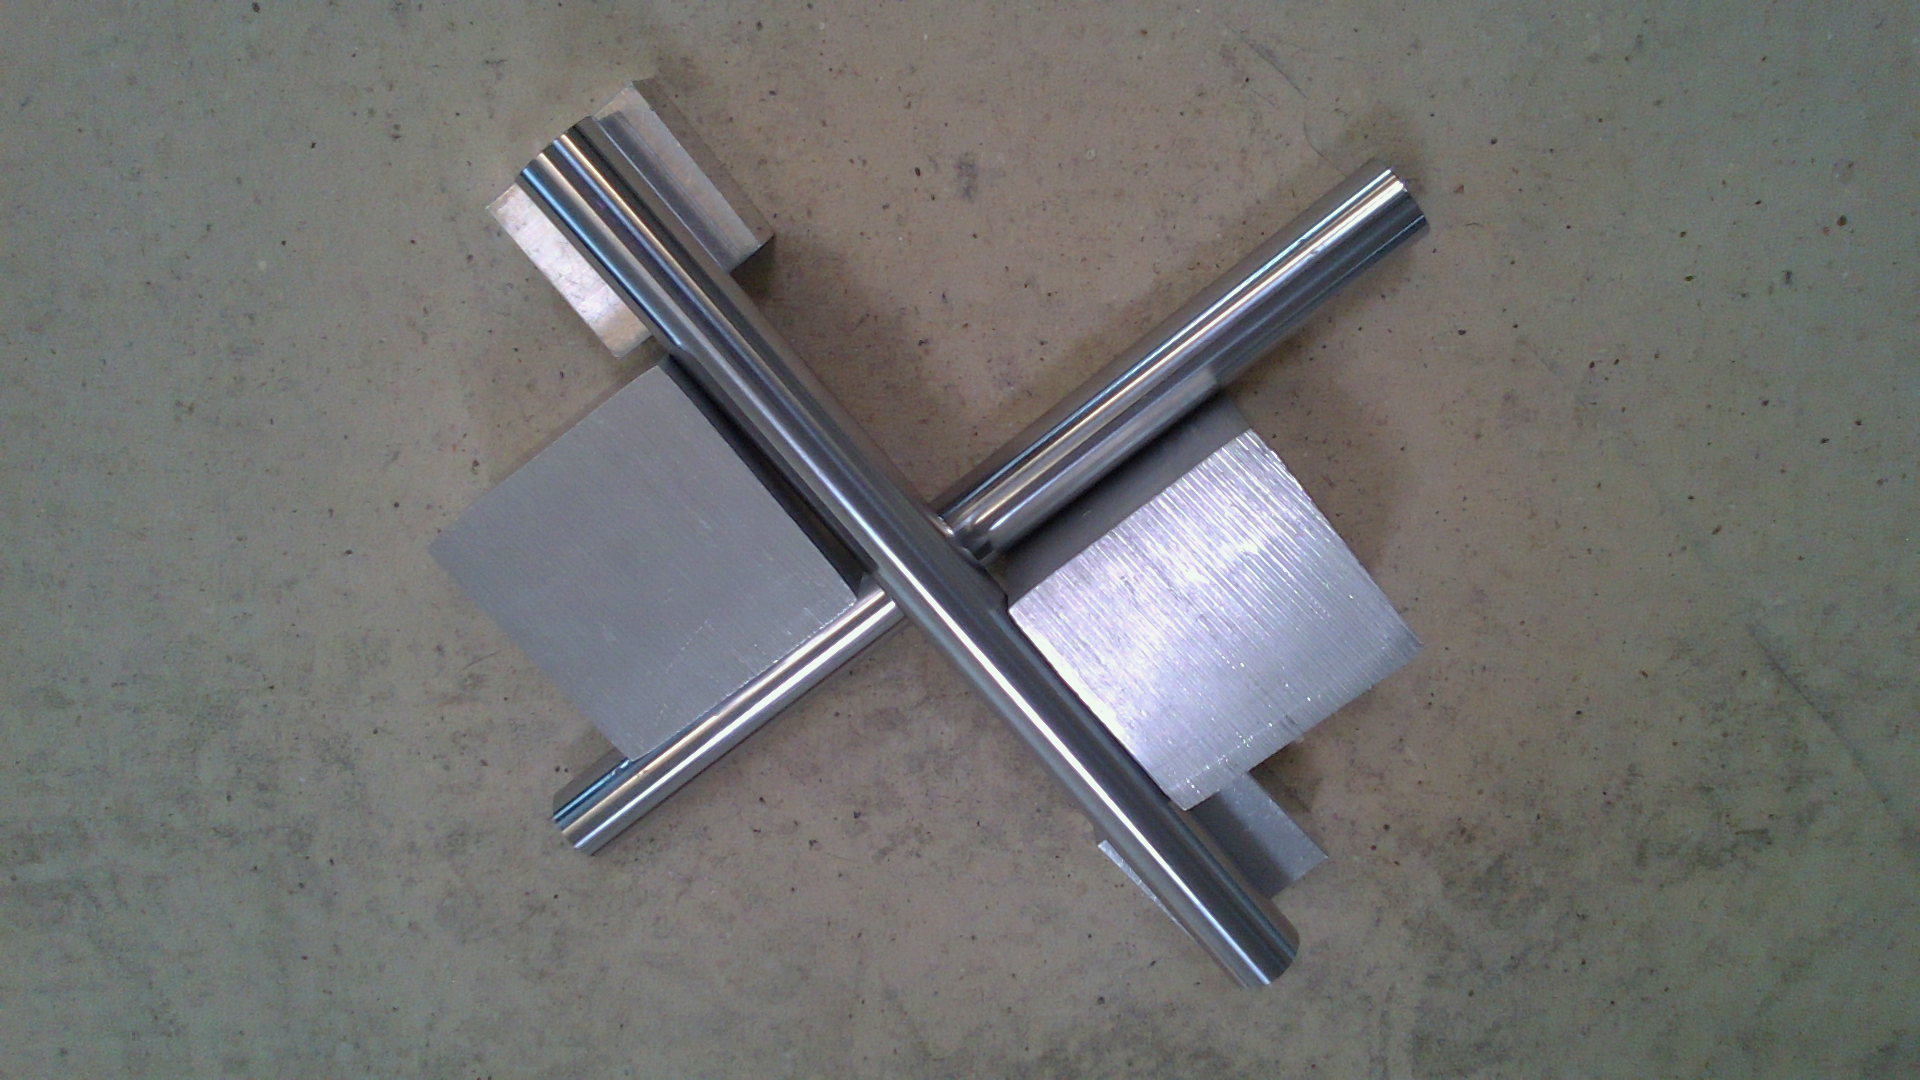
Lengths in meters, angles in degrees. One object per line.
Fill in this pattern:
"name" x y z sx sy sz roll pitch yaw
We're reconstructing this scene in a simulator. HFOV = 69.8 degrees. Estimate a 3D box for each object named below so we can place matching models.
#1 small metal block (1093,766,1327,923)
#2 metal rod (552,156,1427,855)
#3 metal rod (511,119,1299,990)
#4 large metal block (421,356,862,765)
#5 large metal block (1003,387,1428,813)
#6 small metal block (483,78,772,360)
"small metal block" 0.076 0.090 0.428 0.050 0.025 0.050 -41 105 14
"metal rod" -0.001 -0.002 0.394 0.300 0.025 0.025 -38 106 12
"metal rod" -0.004 0.016 0.373 0.025 0.025 0.300 -37 106 13
"large metal block" -0.082 0.000 0.378 0.080 0.050 0.080 -36 106 12
"large metal block" 0.068 0.015 0.386 0.080 0.050 0.080 -37 106 13
"small metal block" -0.086 -0.085 0.363 0.050 0.025 0.050 -36 106 12
